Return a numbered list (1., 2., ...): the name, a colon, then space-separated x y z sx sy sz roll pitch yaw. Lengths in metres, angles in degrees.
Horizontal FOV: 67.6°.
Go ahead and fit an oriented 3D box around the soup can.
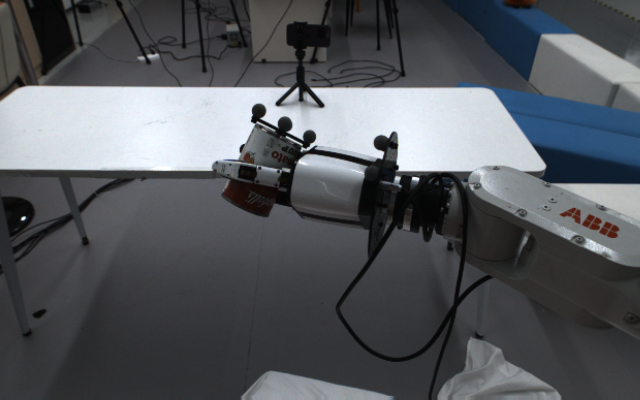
1. soup can: -0.073 -0.037 0.617 0.067 0.101 0.067 26 6 -3
